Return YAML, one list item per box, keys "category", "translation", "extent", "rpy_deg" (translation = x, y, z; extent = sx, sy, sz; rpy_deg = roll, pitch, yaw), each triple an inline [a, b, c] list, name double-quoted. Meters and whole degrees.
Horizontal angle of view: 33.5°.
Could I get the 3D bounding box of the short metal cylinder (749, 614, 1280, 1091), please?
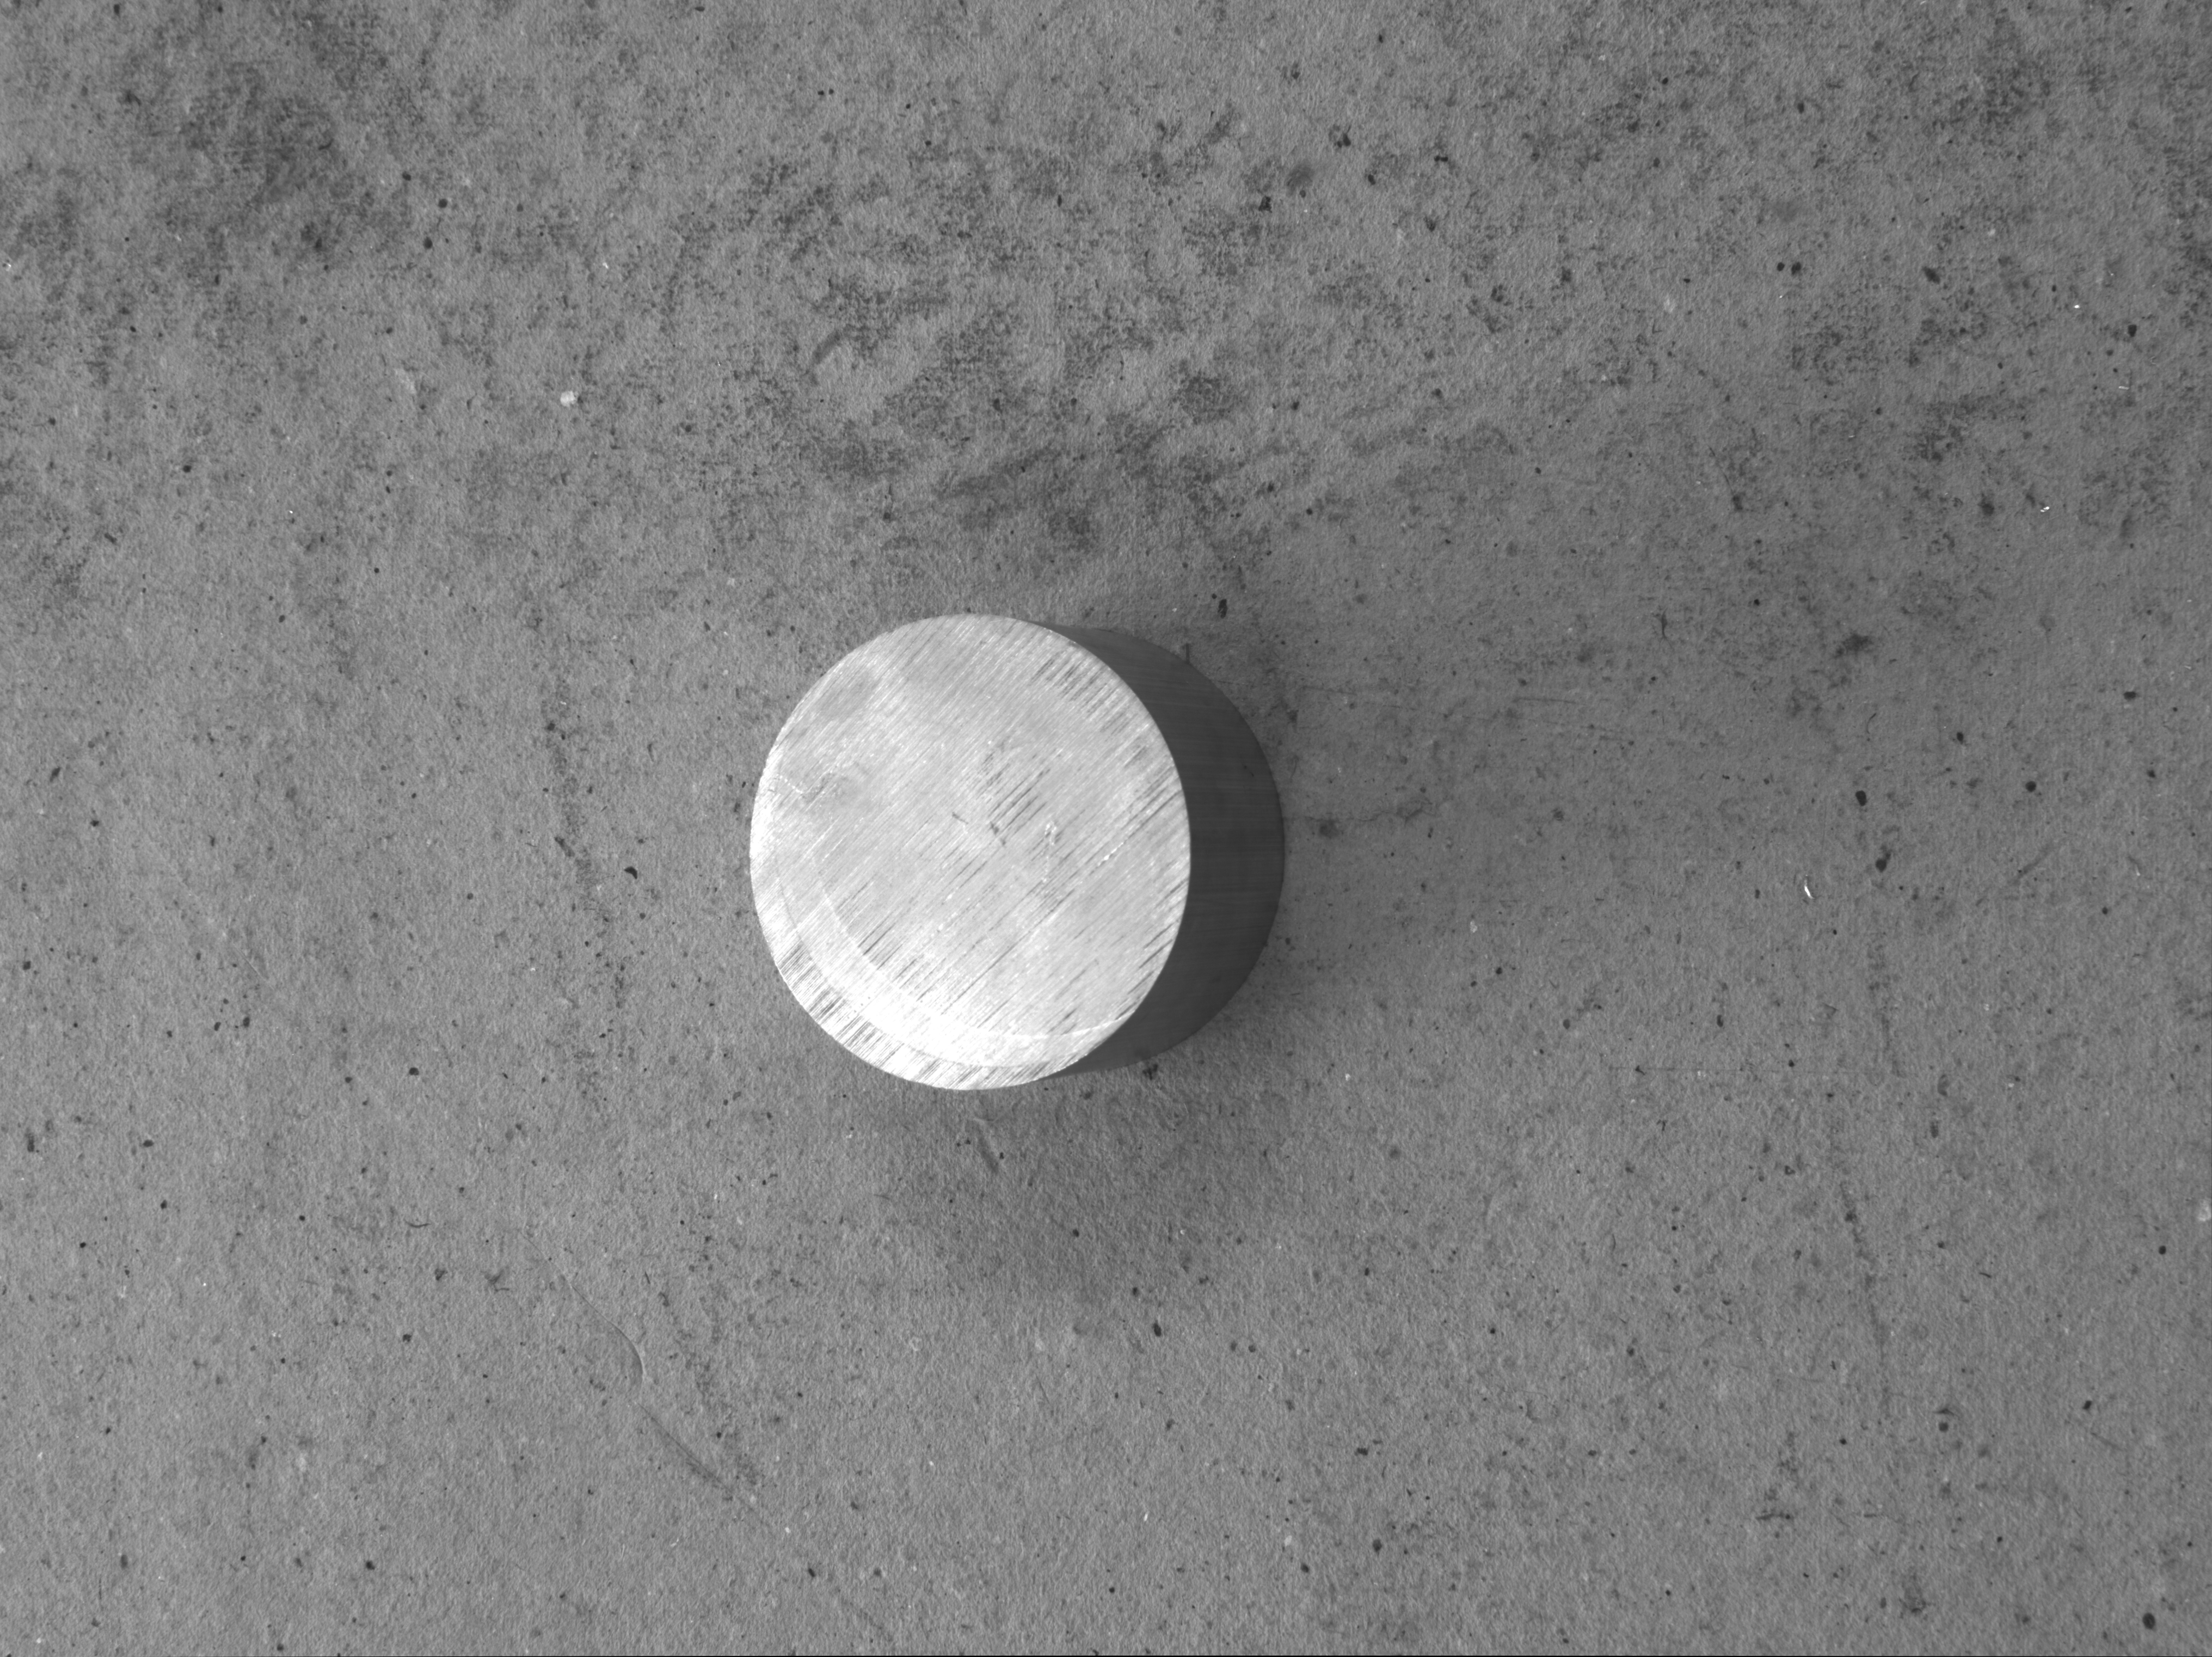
- category: "short metal cylinder"
  translation: [-0.015, 0.004, 0.639]
  extent: [0.080, 0.050, 0.080]
  rpy_deg: [0, 90, 19]
